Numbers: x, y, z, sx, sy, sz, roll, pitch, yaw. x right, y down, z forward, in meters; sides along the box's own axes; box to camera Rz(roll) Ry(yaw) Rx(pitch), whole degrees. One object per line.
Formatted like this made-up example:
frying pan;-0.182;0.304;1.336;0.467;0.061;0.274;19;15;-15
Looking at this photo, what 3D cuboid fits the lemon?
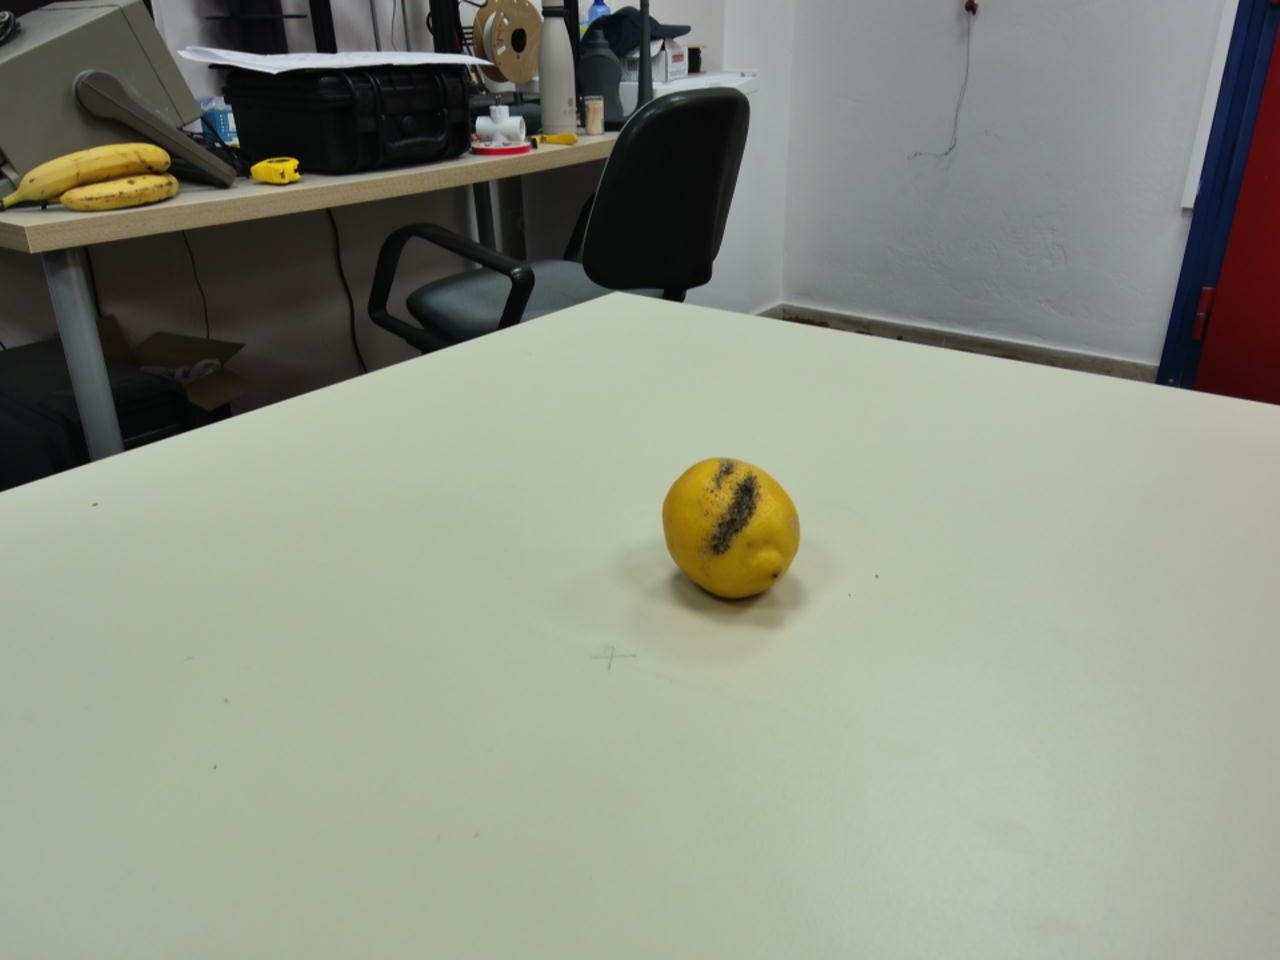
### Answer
lemon;0.039;0.021;0.428;0.061;0.056;0.058;13;26;28
